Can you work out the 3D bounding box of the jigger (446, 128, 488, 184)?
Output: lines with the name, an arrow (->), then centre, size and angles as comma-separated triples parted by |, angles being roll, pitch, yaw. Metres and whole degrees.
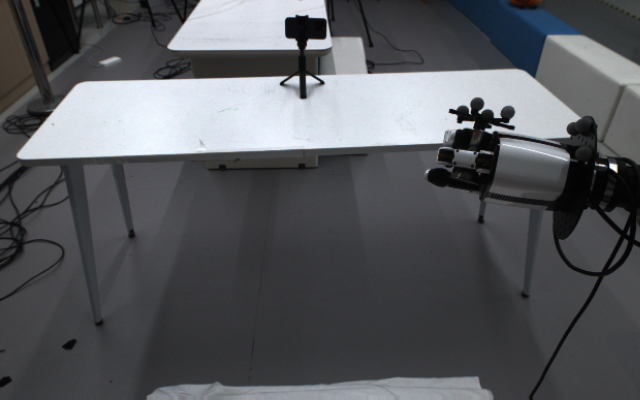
jigger -> 0.202, -0.059, 0.647 | 0.043, 0.071, 0.043 | 17, 2, -1
